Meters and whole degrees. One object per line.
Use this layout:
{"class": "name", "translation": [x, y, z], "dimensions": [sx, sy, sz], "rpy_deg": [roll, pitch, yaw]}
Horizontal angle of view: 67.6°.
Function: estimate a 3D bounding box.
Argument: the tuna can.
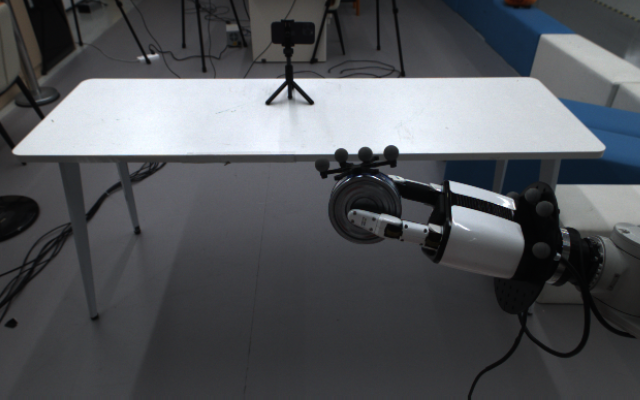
{"class": "tuna can", "translation": [0.057, 0.014, 0.566], "dimensions": [0.085, 0.085, 0.034], "rpy_deg": [6, 18, 5]}
